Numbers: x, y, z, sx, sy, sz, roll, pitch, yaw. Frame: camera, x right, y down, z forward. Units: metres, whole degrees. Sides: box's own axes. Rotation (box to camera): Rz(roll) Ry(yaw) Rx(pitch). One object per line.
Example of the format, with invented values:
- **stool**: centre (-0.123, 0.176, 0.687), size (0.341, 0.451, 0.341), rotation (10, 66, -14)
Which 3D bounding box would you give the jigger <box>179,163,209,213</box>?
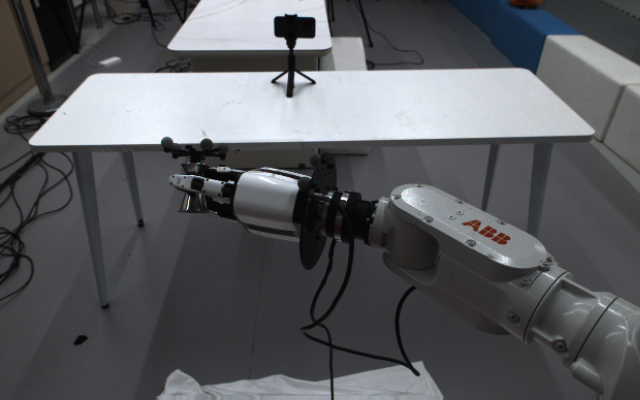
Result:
- **jigger**: centre (-0.179, -0.017, 0.688), size (0.043, 0.071, 0.043), rotation (1, -4, 0)
